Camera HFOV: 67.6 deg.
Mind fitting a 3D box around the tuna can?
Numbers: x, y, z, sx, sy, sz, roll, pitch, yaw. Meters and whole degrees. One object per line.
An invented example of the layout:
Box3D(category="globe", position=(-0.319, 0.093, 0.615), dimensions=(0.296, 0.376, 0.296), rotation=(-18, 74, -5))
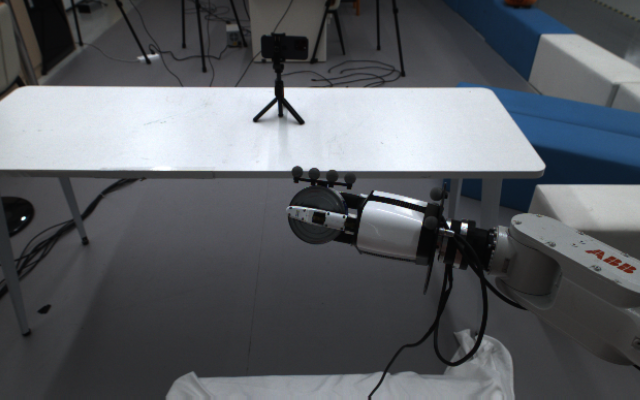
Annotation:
Box3D(category="tuna can", position=(-0.001, 0.020, 0.709), dimensions=(0.085, 0.085, 0.034), rotation=(11, 2, 13))
